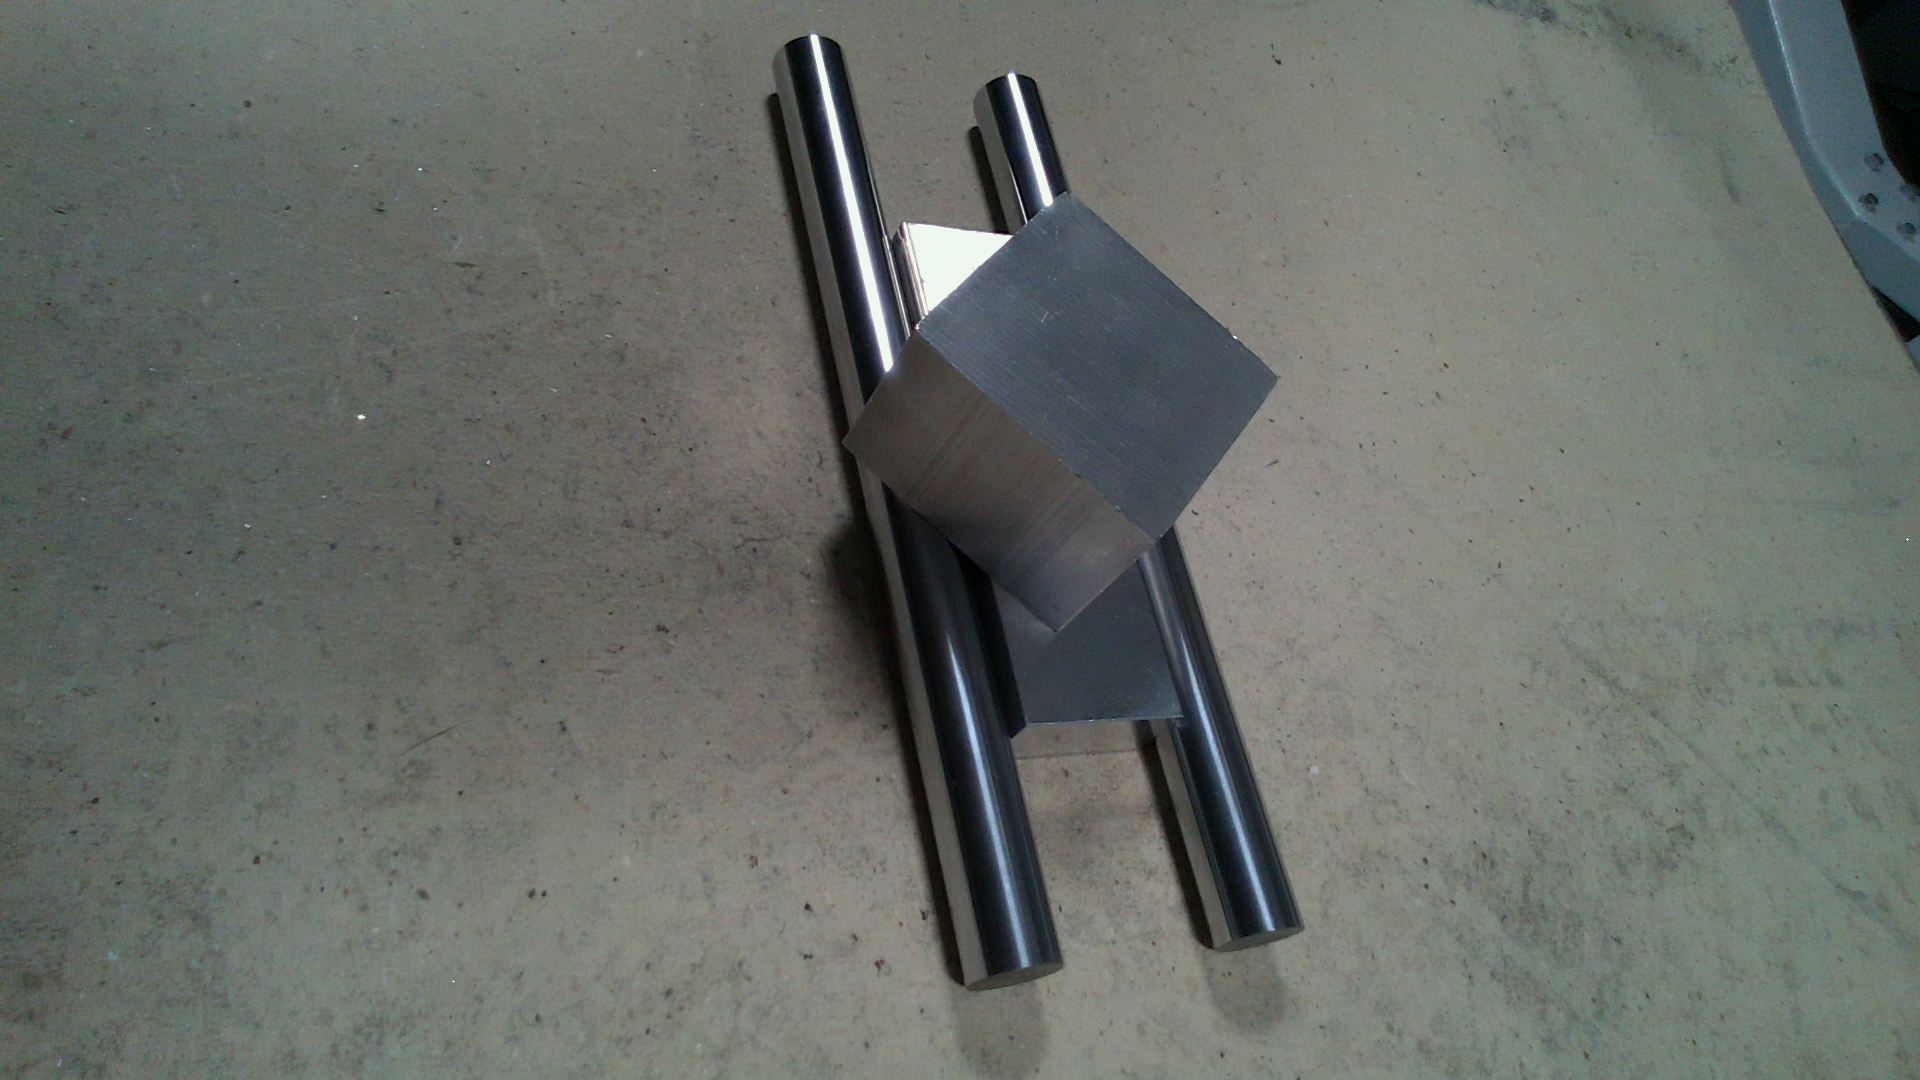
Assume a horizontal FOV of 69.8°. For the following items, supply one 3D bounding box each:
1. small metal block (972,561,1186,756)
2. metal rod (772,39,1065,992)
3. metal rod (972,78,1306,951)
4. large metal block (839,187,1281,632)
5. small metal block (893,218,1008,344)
[{"bbox_3d":[0.029,0.031,0.385,0.050,0.025,0.050,1,61,-28],"label":"small metal block"},{"bbox_3d":[-0.019,-0.026,0.396,0.025,0.025,0.300,1,61,-28],"label":"metal rod"},{"bbox_3d":[0.049,-0.025,0.432,0.025,0.025,0.300,1,61,-28],"label":"metal rod"},{"bbox_3d":[0.028,-0.037,0.377,0.080,0.050,0.080,42,51,0],"label":"large metal block"},{"bbox_3d":[0.005,-0.071,0.434,0.050,0.025,0.050,1,61,-28],"label":"small metal block"}]
